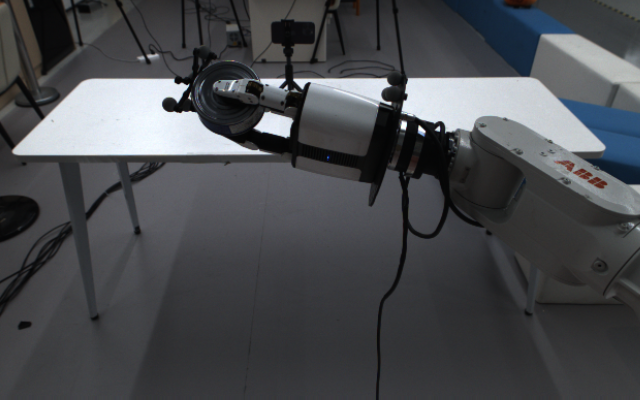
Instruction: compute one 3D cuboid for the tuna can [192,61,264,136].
[{"bbox_3d":[-0.108,-0.124,0.582,0.085,0.034,0.085,0,75,-1],"label":"tuna can"}]
